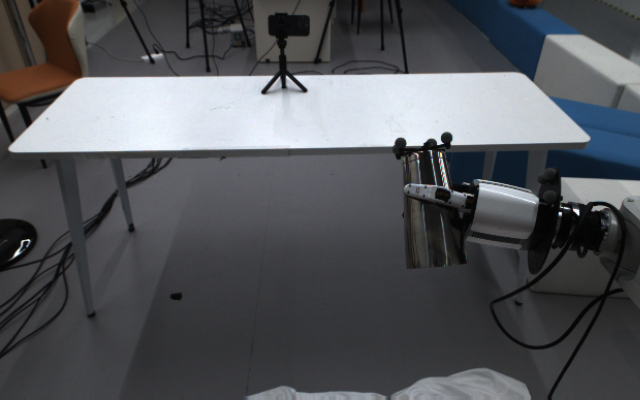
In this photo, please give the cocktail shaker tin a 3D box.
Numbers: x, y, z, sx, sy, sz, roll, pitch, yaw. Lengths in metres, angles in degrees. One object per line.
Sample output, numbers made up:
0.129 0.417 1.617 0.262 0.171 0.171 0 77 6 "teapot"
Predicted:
0.168 0.014 0.736 0.093 0.170 0.093 -6 -7 -1 "cocktail shaker tin"
